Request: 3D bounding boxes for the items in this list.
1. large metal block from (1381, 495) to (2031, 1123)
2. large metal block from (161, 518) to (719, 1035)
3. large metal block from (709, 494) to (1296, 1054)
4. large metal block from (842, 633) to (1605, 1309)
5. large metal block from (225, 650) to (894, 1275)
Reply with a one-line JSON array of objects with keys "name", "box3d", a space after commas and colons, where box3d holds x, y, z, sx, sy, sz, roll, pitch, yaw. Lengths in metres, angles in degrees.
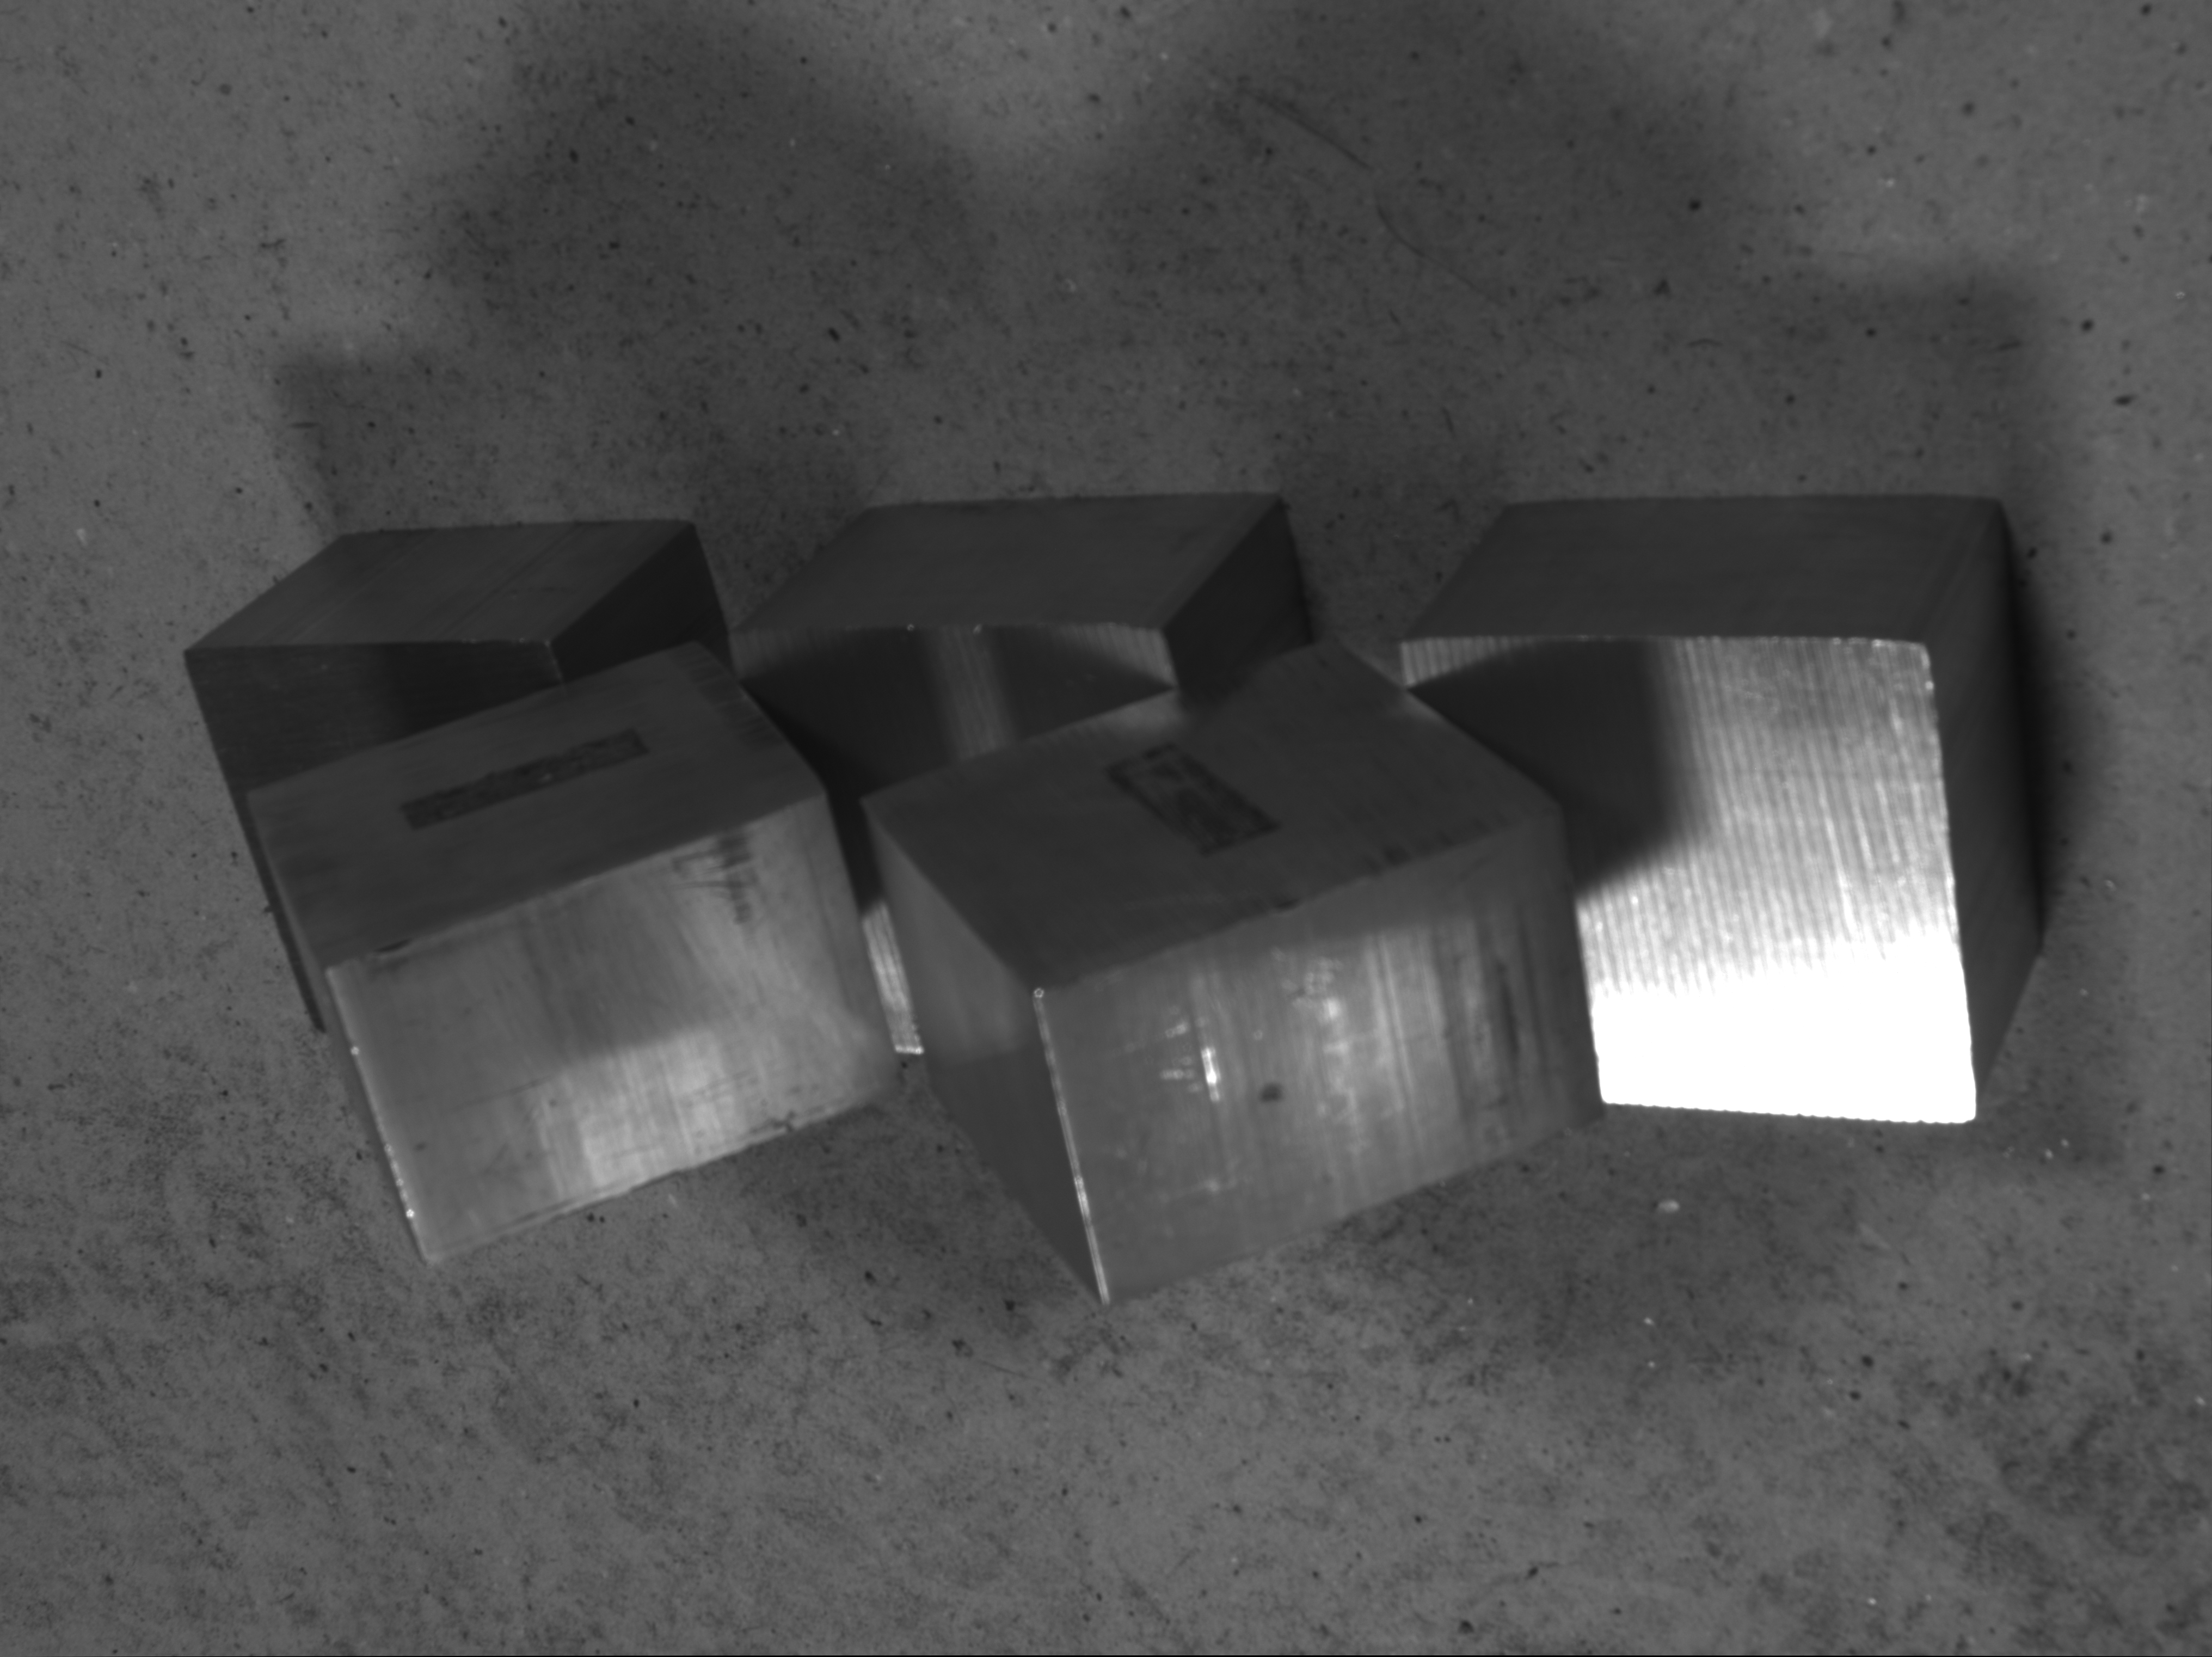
[{"name": "large metal block", "box3d": [0.095, -0.004, 0.566, 0.080, 0.050, 0.080, 1, 119, 26]}, {"name": "large metal block", "box3d": [-0.113, -0.008, 0.667, 0.080, 0.050, 0.080, 0, 118, 27]}, {"name": "large metal block", "box3d": [-0.011, -0.008, 0.616, 0.080, 0.050, 0.080, 1, 119, 26]}, {"name": "large metal block", "box3d": [0.016, 0.018, 0.538, 0.080, 0.080, 0.050, -137, 31, -60]}, {"name": "large metal block", "box3d": [-0.089, 0.019, 0.589, 0.080, 0.080, 0.050, -21, 116, -14]}]
